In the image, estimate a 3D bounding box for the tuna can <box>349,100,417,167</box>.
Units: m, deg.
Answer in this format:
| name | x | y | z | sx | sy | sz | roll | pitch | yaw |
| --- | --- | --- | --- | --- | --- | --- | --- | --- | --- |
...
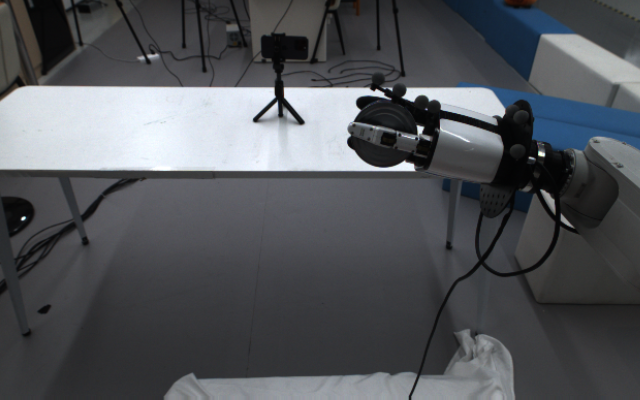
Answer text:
| name | x | y | z | sx | sy | sz | roll | pitch | yaw |
| --- | --- | --- | --- | --- | --- | --- | --- | --- | --- |
| tuna can | 0.085 | -0.090 | 0.638 | 0.085 | 0.085 | 0.034 | 7 | 17 | 6 |
